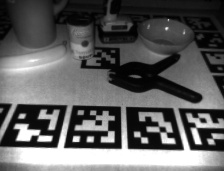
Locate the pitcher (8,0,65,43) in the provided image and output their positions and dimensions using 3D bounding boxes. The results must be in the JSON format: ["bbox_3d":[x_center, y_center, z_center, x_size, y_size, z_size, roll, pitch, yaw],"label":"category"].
[{"bbox_3d":[-0.198,-0.242,0.558,0.190,0.244,0.131,-17,45,-18],"label":"pitcher"}]

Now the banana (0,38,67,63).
[{"bbox_3d":[-0.204,-0.089,0.554,0.199,0.039,0.073,-17,40,-20],"label":"banana"}]

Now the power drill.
[{"bbox_3d":[0.041,-0.257,0.597,0.185,0.188,0.057,-3,46,-5],"label":"power drill"}]

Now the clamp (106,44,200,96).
[{"bbox_3d":[0.087,-0.042,0.510,0.203,0.037,0.164,0,50,-3],"label":"clamp"}]

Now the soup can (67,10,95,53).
[{"bbox_3d":[-0.079,-0.146,0.569,0.068,0.102,0.067,1,37,0],"label":"soup can"}]

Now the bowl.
[{"bbox_3d":[0.148,-0.155,0.620,0.162,0.055,0.161,1,47,-1],"label":"bowl"}]
